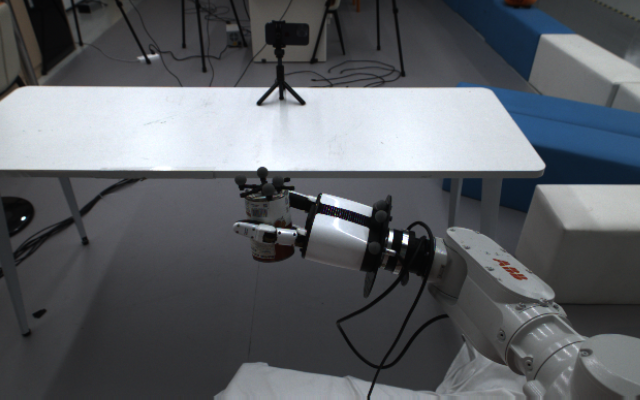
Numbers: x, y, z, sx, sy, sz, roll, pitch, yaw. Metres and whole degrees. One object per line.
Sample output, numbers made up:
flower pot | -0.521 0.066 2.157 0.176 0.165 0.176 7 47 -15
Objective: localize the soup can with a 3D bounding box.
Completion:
soup can | -0.074 0.035 0.725 0.067 0.101 0.067 -4 21 1
